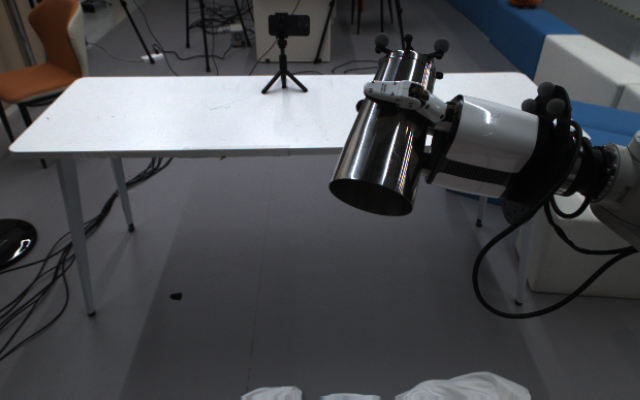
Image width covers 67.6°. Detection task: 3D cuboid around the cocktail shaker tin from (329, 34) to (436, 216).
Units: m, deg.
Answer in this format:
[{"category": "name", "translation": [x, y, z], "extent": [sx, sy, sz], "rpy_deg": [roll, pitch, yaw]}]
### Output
[{"category": "cocktail shaker tin", "translation": [0.078, -0.079, 0.537], "extent": [0.093, 0.093, 0.170], "rpy_deg": [13, 70, 15]}]
